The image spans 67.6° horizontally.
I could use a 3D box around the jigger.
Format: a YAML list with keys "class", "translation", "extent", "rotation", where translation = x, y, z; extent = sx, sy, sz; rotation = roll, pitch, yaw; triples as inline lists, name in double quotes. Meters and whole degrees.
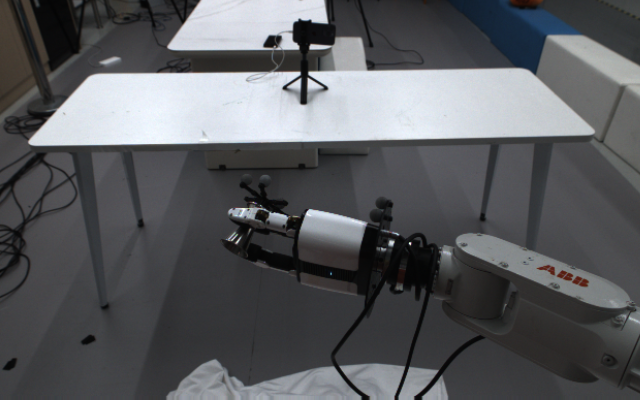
- class: "jigger"
  translation: [-0.104, 0.037, 0.677]
  extent: [0.043, 0.043, 0.071]
  rotation: [19, 61, 23]
